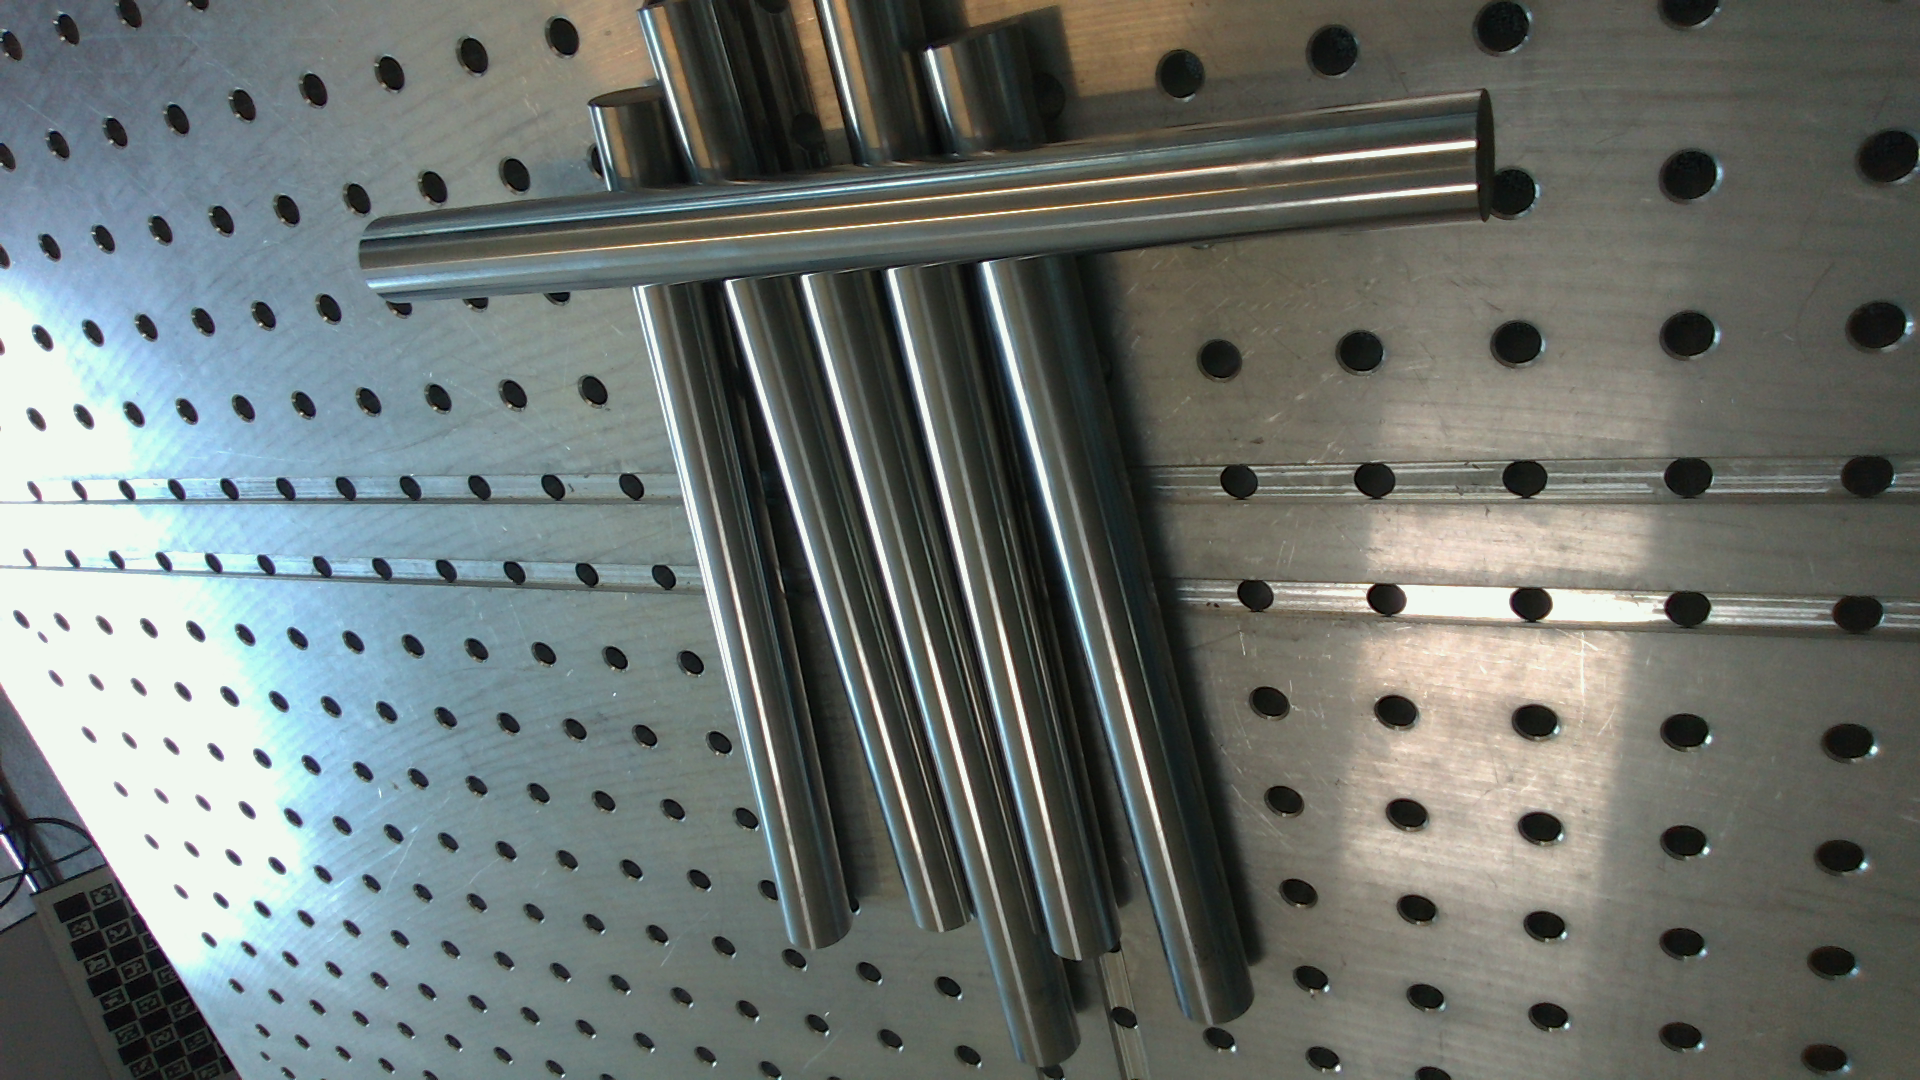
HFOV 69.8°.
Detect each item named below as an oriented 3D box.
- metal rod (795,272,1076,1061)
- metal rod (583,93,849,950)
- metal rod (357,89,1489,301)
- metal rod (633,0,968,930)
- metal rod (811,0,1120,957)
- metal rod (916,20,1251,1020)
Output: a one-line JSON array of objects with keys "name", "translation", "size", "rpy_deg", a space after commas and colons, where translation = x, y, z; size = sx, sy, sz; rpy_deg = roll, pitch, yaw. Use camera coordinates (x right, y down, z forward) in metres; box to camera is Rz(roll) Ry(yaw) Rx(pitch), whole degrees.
[{"name": "metal rod", "translation": [-0.004, 0.044, 0.425], "size": [0.025, 0.025, 0.300], "rpy_deg": [1, 119, 28]}, {"name": "metal rod", "translation": [-0.071, 0.012, 0.440], "size": [0.025, 0.025, 0.300], "rpy_deg": [7, 122, 25]}, {"name": "metal rod", "translation": [-0.033, -0.078, 0.333], "size": [0.299, 0.025, 0.025], "rpy_deg": [2, 119, 27]}, {"name": "metal rod", "translation": [-0.038, -0.005, 0.413], "size": [0.025, 0.025, 0.300], "rpy_deg": [1, 119, 28]}, {"name": "metal rod", "translation": [0.008, -0.003, 0.391], "size": [0.025, 0.025, 0.300], "rpy_deg": [1, 119, 28]}, {"name": "metal rod", "translation": [0.041, 0.013, 0.382], "size": [0.025, 0.025, 0.300], "rpy_deg": [-2, 117, 30]}]
